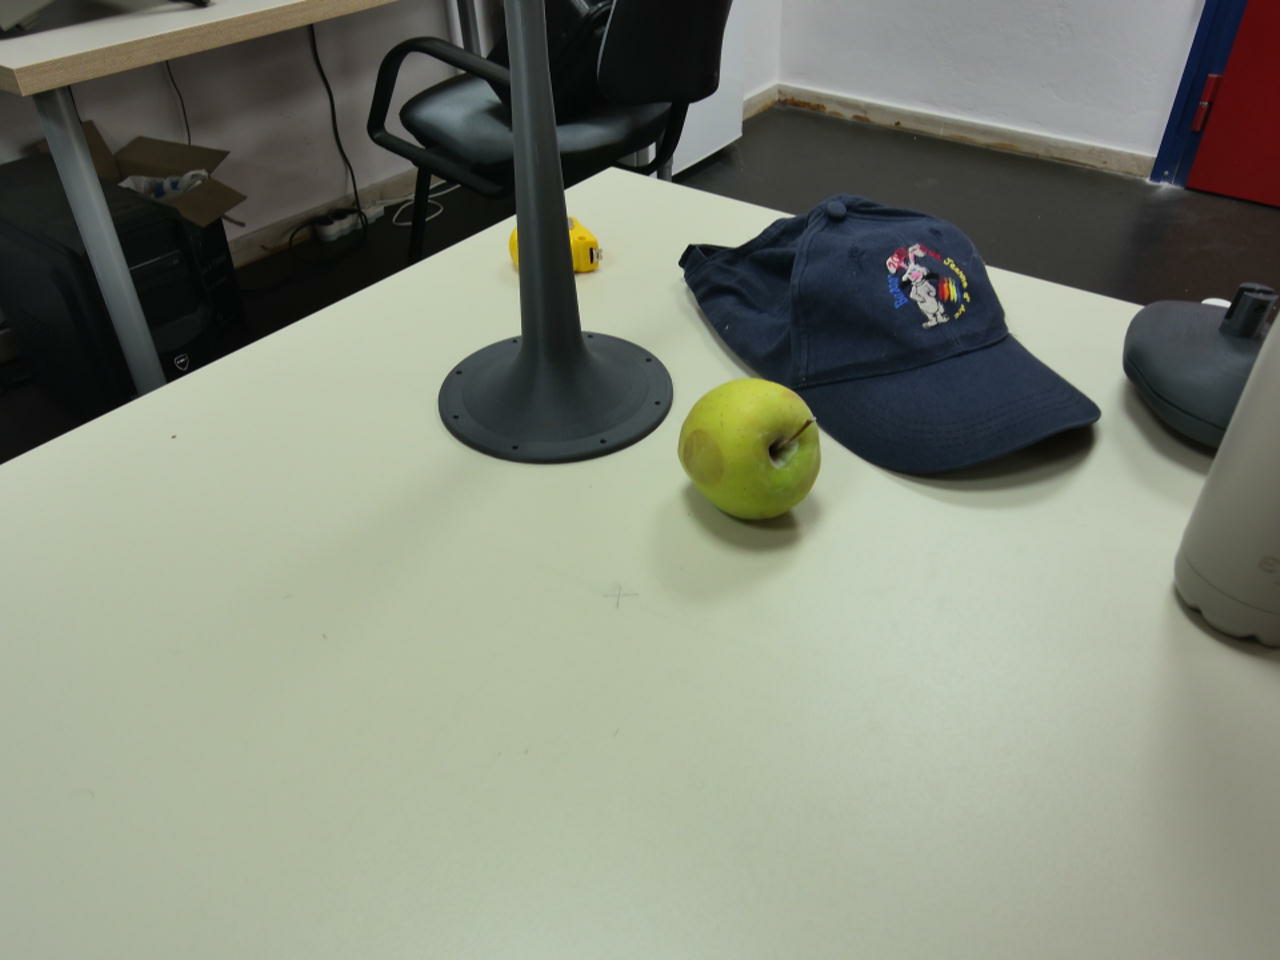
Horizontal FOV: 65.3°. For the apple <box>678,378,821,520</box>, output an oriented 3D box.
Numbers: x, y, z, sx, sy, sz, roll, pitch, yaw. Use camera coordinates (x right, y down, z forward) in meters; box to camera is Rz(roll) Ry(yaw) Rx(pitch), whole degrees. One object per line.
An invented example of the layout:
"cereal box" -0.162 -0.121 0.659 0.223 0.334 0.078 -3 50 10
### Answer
"apple" 0.058 -0.018 0.529 0.072 0.075 0.077 -5 37 -6
